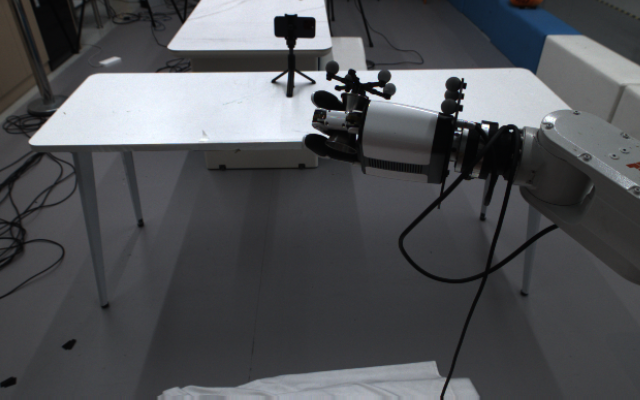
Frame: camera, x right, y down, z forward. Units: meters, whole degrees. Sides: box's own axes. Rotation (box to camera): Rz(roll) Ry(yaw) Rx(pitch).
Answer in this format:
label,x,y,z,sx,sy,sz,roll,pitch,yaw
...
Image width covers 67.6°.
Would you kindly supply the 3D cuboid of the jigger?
label,x,y,z,sx,sy,sz,roll,pitch,yaw
jigger,0.035,-0.100,0.624,0.043,0.071,0.043,15,-7,2
